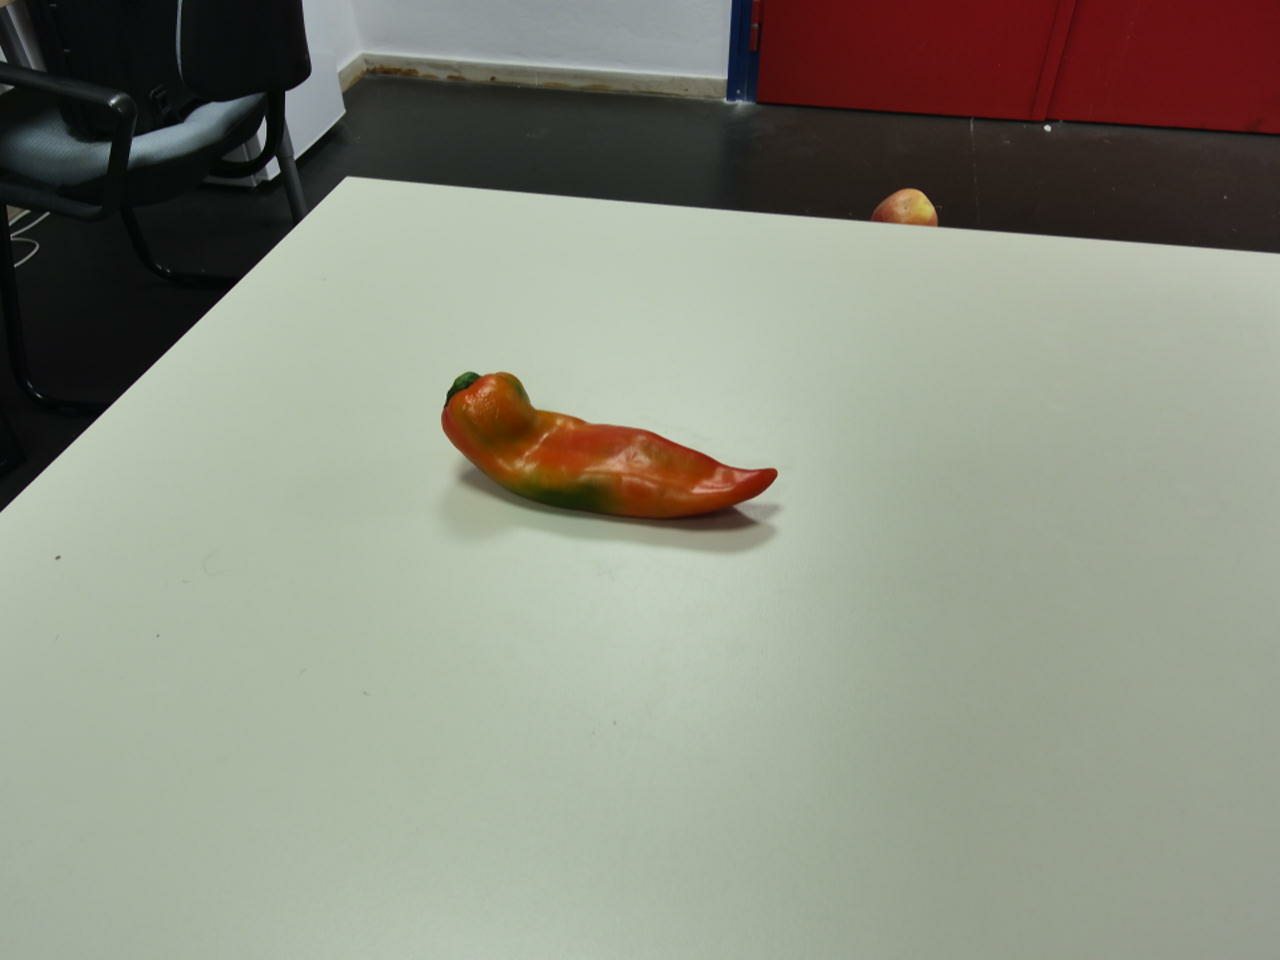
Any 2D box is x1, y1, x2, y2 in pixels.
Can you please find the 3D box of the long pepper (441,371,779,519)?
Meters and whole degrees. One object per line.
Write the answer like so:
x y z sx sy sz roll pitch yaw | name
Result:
-0.020 -0.020 0.578 0.199 0.065 0.066 11 41 14 | long pepper
